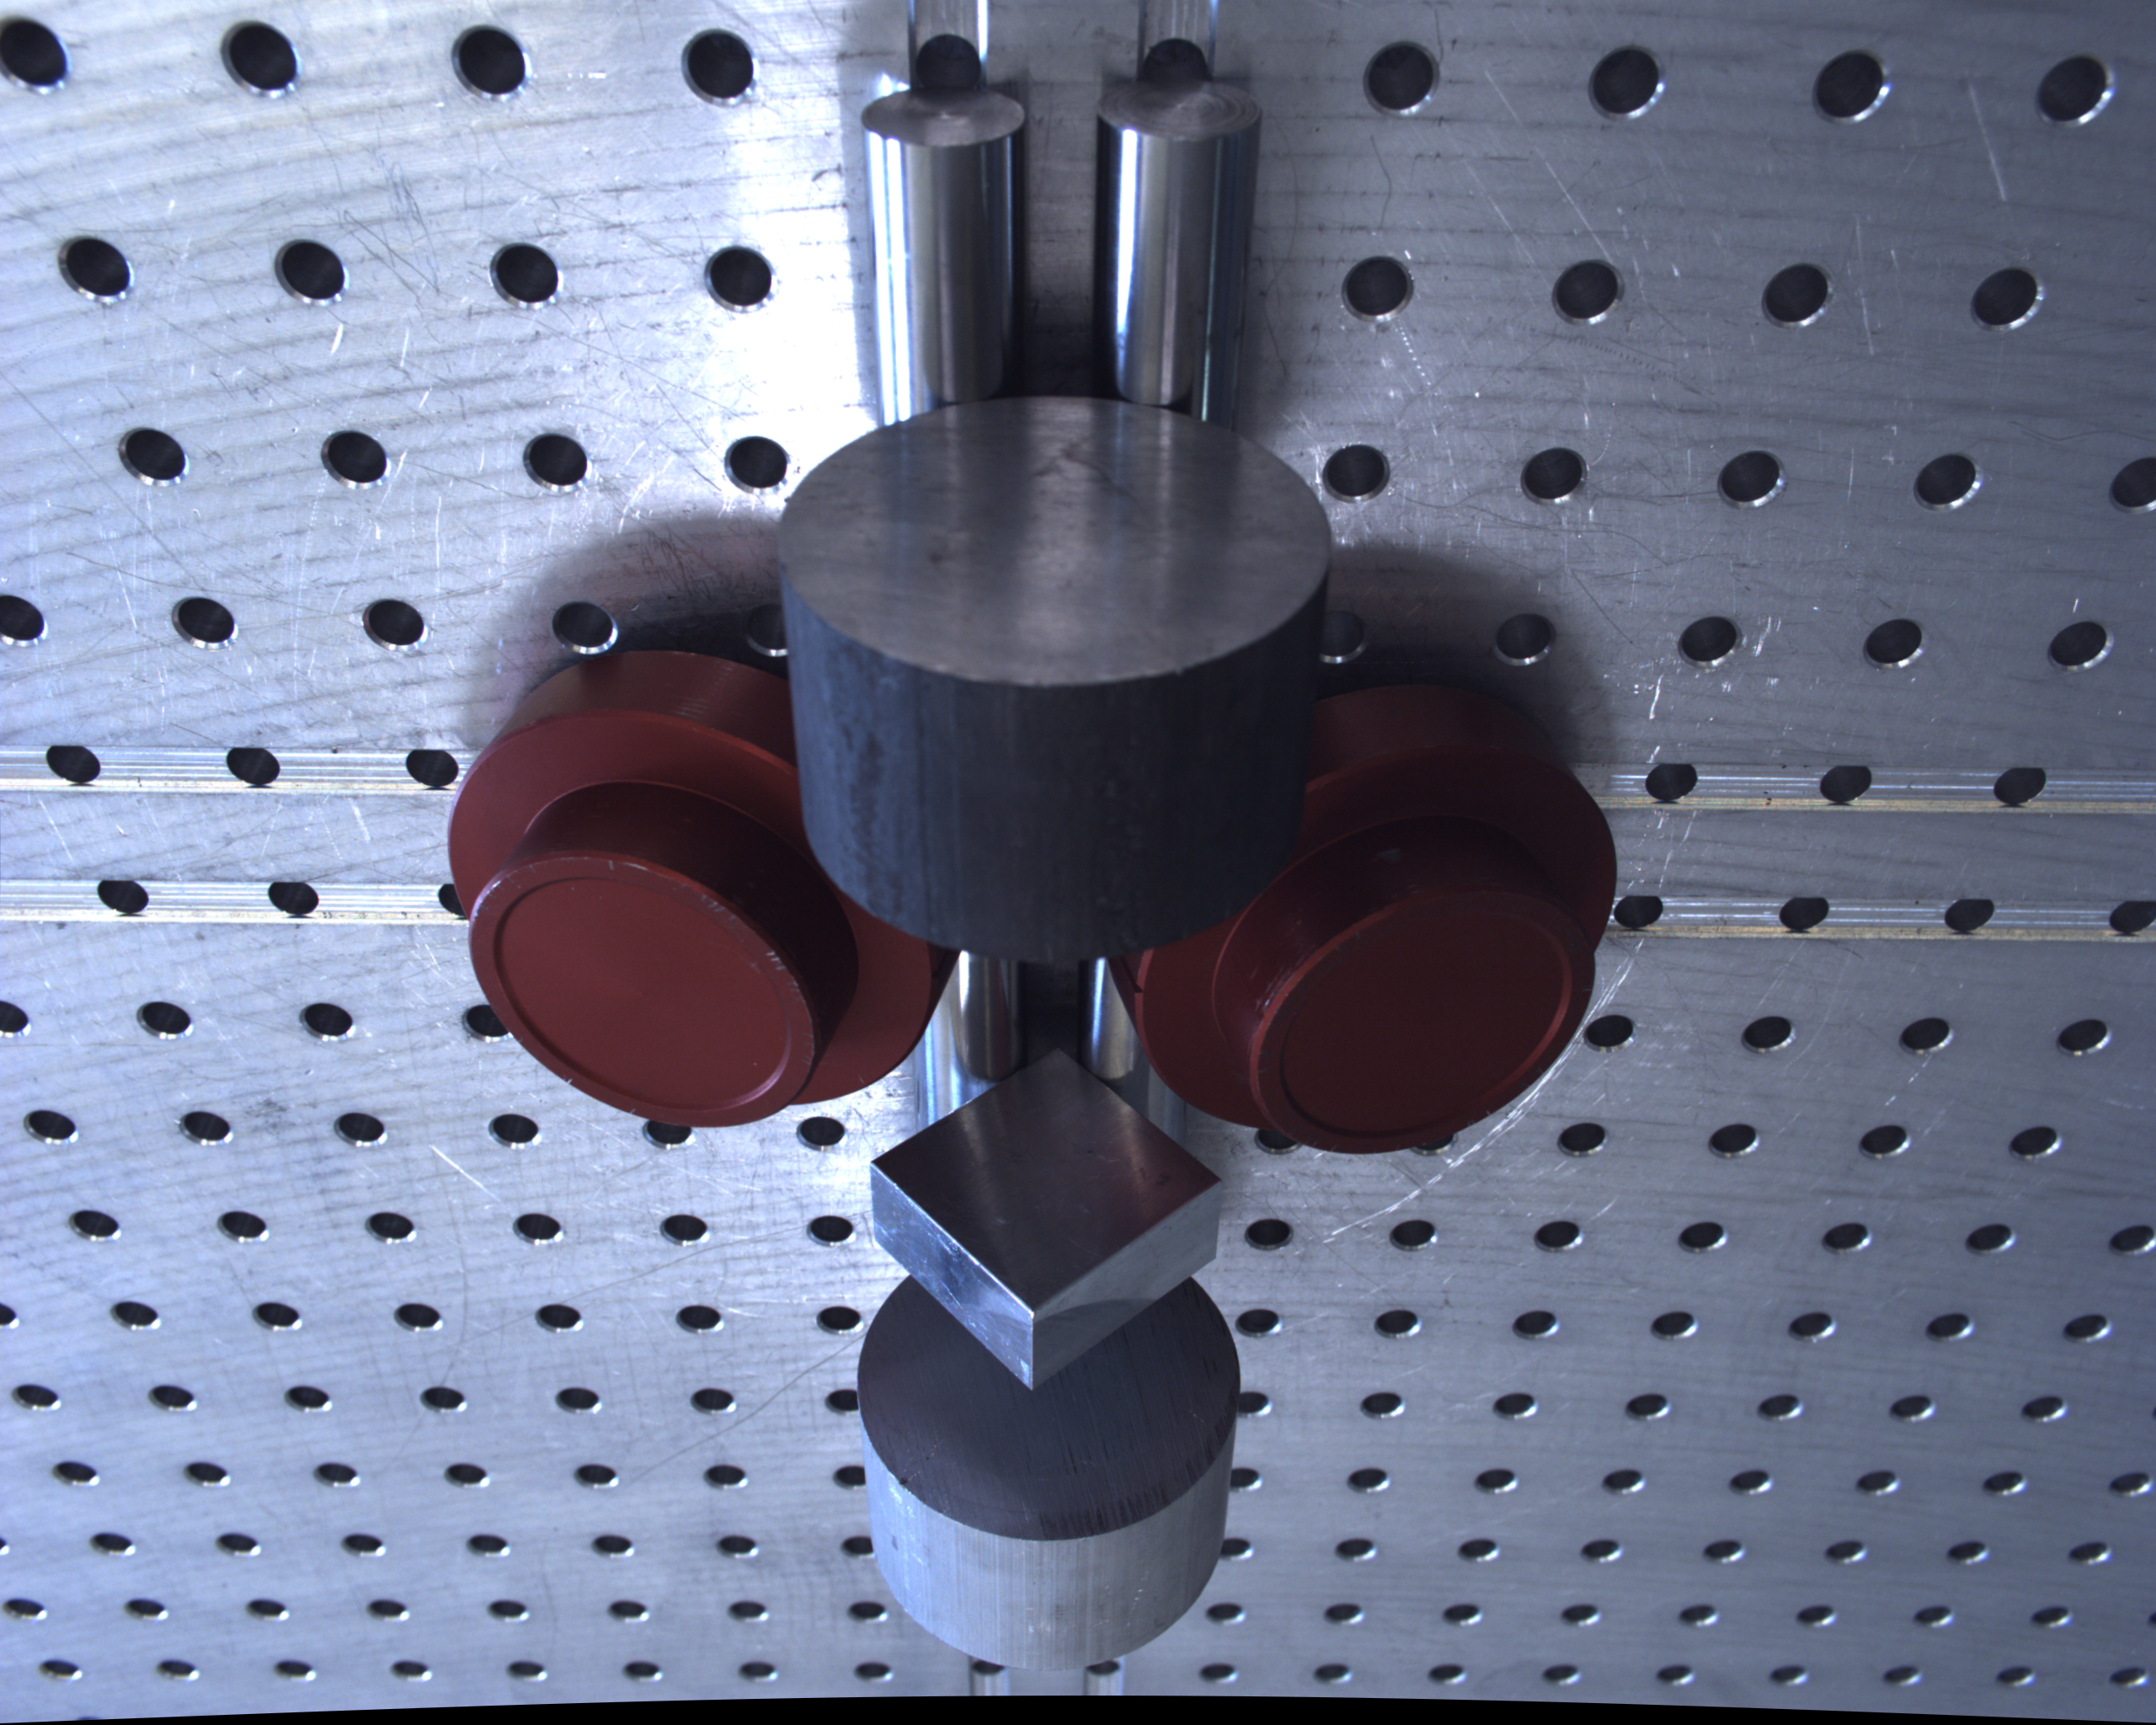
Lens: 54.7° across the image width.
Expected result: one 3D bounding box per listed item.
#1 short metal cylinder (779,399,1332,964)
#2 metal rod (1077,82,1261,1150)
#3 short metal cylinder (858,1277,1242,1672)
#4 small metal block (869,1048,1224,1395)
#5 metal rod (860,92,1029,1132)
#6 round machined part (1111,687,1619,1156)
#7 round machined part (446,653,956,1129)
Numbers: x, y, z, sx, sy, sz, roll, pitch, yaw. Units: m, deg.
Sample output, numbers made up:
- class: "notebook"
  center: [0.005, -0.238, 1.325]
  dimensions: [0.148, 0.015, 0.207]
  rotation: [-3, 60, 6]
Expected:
- class: "short metal cylinder"
  center: [-0.003, -0.030, 0.321]
  dimensions: [0.081, 0.080, 0.050]
  rotation: [1, 130, -1]
- class: "metal rod"
  center: [0.013, 0.000, 0.411]
  dimensions: [0.025, 0.025, 0.298]
  rotation: [0, 130, -1]
- class: "short metal cylinder"
  center: [-0.006, 0.126, 0.454]
  dimensions: [0.081, 0.080, 0.050]
  rotation: [1, 130, -1]
- class: "small metal block"
  center: [-0.007, 0.072, 0.425]
  dimensions: [0.050, 0.050, 0.025]
  rotation: [-29, 139, -32]
- class: "metal rod"
  center: [-0.022, 0.002, 0.411]
  dimensions: [0.025, 0.025, 0.298]
  rotation: [0, 130, -1]
- class: "round machined part"
  center: [0.058, 0.018, 0.399]
  dimensions: [0.099, 0.042, 0.097]
  rotation: [-10, 132, -11]
- class: "round machined part"
  center: [-0.074, 0.012, 0.394]
  dimensions: [0.098, 0.042, 0.097]
  rotation: [9, 131, 10]
